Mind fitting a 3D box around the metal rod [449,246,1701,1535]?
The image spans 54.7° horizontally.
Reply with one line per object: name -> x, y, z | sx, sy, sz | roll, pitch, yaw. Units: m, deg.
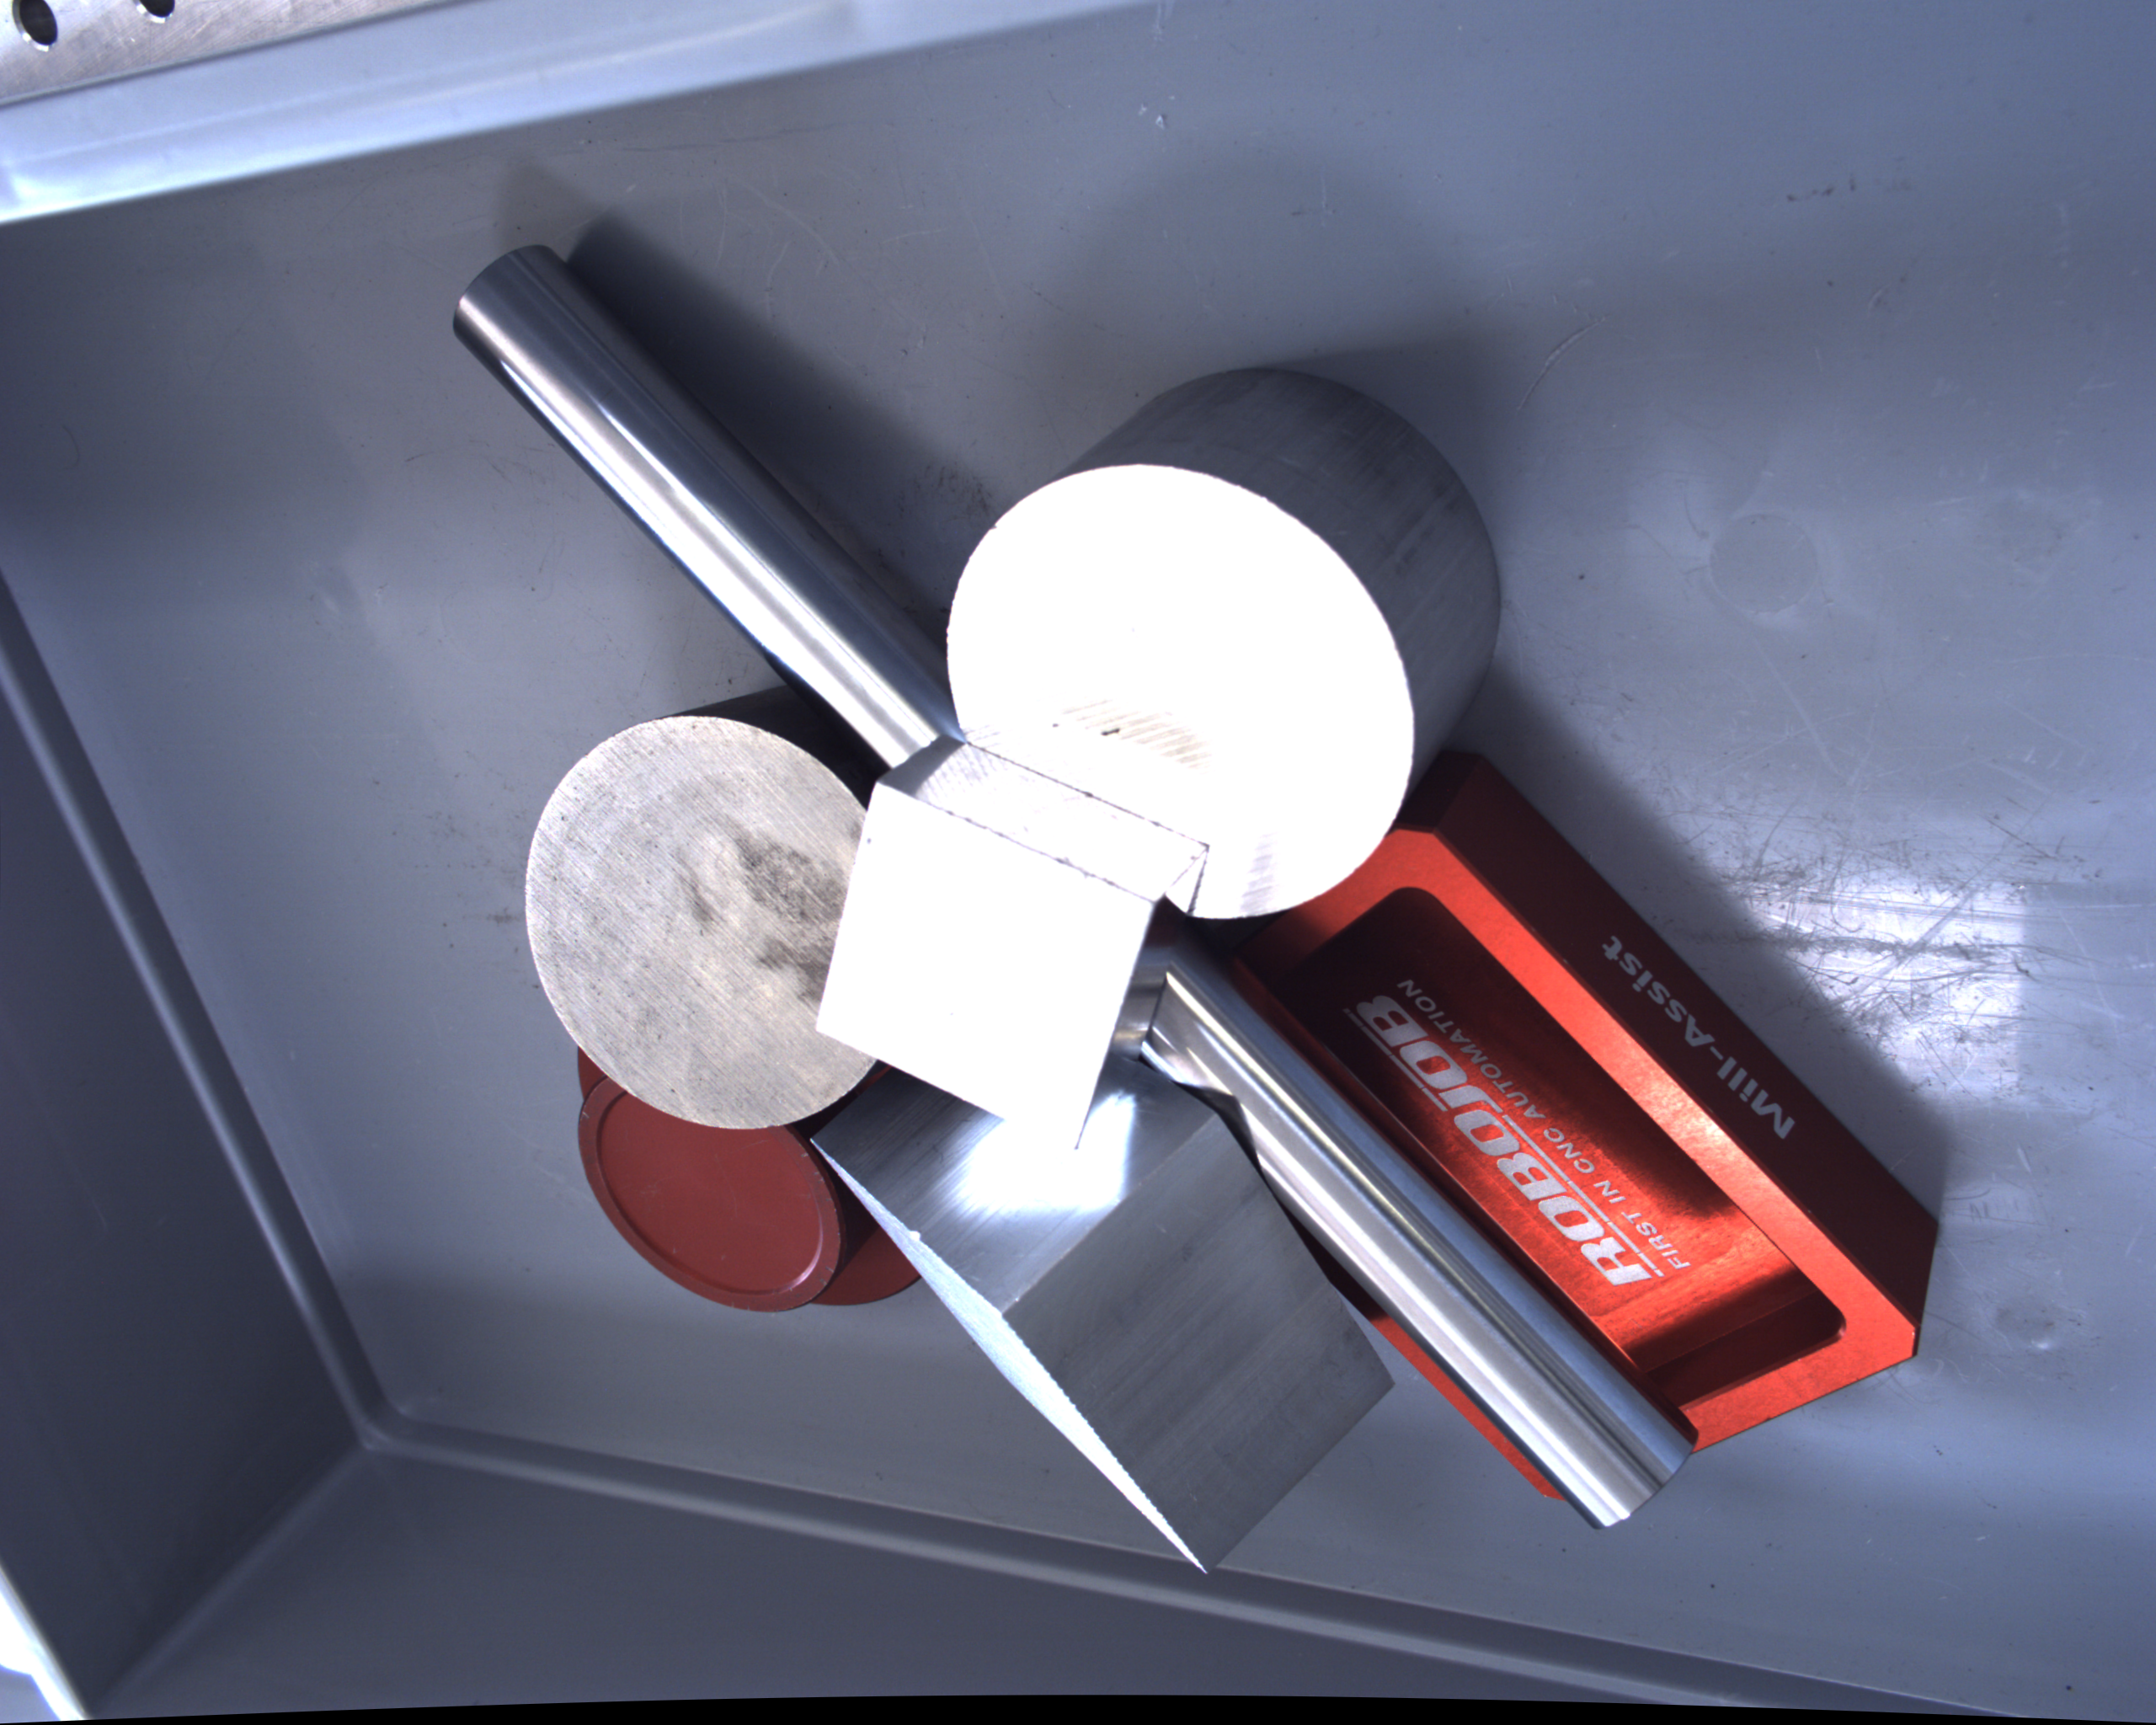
metal rod -> -0.006, -0.001, 0.377 | 0.300, 0.025, 0.025 | 46, 130, 8

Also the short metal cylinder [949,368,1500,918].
short metal cylinder -> 0.026, -0.038, 0.354 | 0.080, 0.050, 0.079 | 13, 124, 21

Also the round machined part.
round machined part -> -0.073, 0.062, 0.471 | 0.098, 0.042, 0.097 | 13, 124, 21

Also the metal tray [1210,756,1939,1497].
metal tray -> 0.082, 0.054, 0.393 | 0.130, 0.030, 0.090 | 45, 129, -4

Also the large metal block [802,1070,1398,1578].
large metal block -> 0.003, 0.077, 0.402 | 0.080, 0.050, 0.080 | 26, 154, 55

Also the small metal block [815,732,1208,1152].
small metal block -> -0.012, 0.013, 0.352 | 0.050, 0.025, 0.050 | 24, 119, 14

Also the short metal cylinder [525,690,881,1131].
short metal cylinder -> -0.060, 0.007, 0.412 | 0.080, 0.050, 0.079 | 4, 103, 19
